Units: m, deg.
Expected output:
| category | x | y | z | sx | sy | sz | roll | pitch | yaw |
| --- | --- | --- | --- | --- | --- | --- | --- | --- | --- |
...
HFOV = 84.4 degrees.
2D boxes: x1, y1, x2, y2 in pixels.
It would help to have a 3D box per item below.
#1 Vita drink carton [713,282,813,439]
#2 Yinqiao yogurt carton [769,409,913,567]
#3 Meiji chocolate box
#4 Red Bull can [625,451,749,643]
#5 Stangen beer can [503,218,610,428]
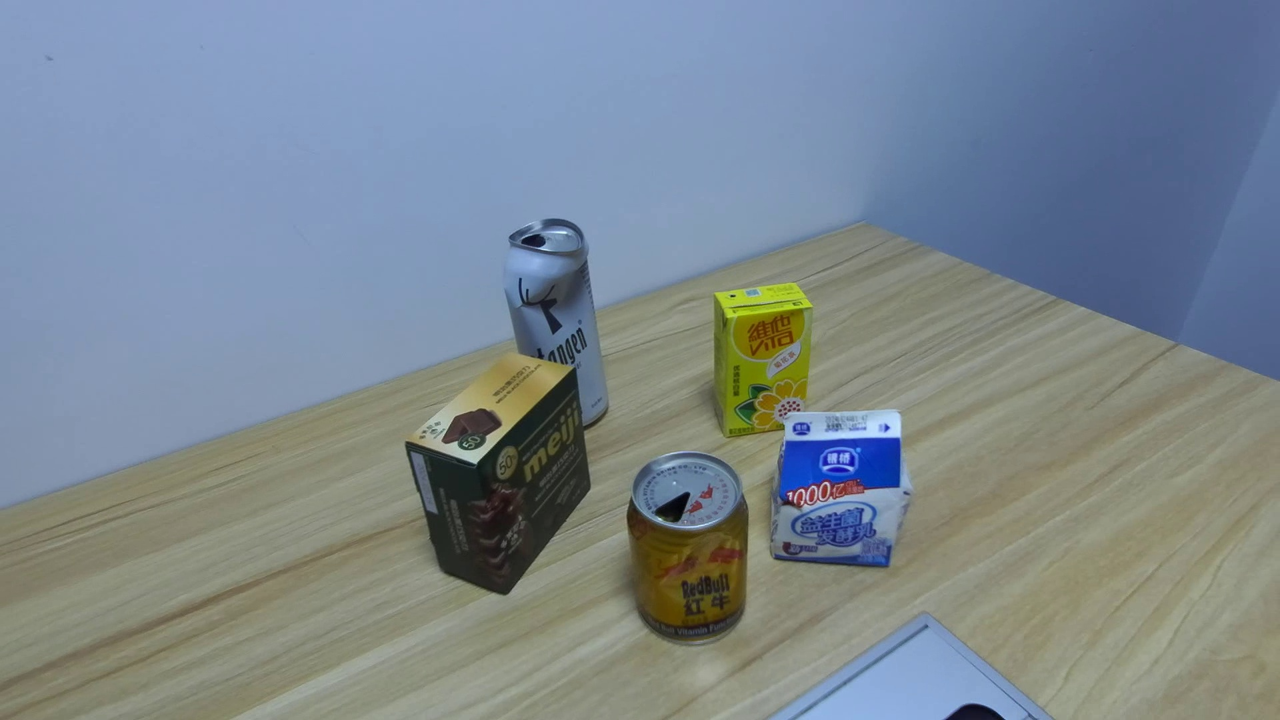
| category | x | y | z | sx | sy | sz | roll | pitch | yaw |
| --- | --- | --- | --- | --- | --- | --- | --- | --- | --- |
| Vita drink carton | 0.092 | 0.000 | 0.539 | 0.067 | 0.109 | 0.043 | -8 | 33 | -6 |
| Yinqiao yogurt carton | 0.125 | 0.069 | 0.442 | 0.083 | 0.093 | 0.077 | 2 | 34 | 10 |
| Meiji chocolate box | -0.085 | 0.071 | 0.458 | 0.056 | 0.109 | 0.110 | 12 | 36 | 24 |
| Red Bull can | 0.028 | 0.106 | 0.399 | 0.069 | 0.092 | 0.069 | -3 | 33 | 2 |
| Stangen beer can | -0.064 | -0.023 | 0.549 | 0.066 | 0.162 | 0.077 | -9 | 32 | -6 |
